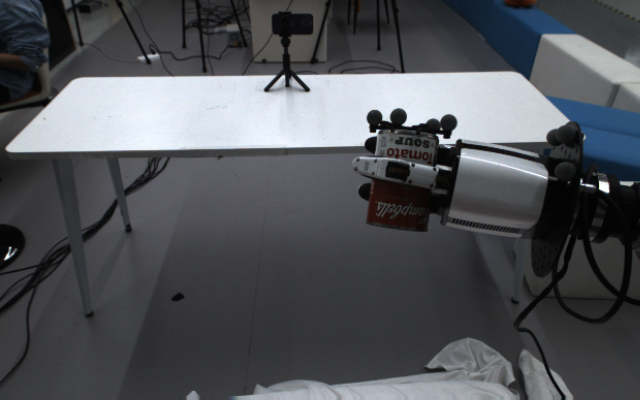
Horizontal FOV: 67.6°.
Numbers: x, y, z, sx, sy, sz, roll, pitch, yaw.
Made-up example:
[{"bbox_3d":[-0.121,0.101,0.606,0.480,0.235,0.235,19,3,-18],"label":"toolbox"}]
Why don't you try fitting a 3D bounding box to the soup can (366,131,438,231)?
[{"bbox_3d":[0.091,-0.020,0.524,0.067,0.101,0.067,7,3,0],"label":"soup can"}]
